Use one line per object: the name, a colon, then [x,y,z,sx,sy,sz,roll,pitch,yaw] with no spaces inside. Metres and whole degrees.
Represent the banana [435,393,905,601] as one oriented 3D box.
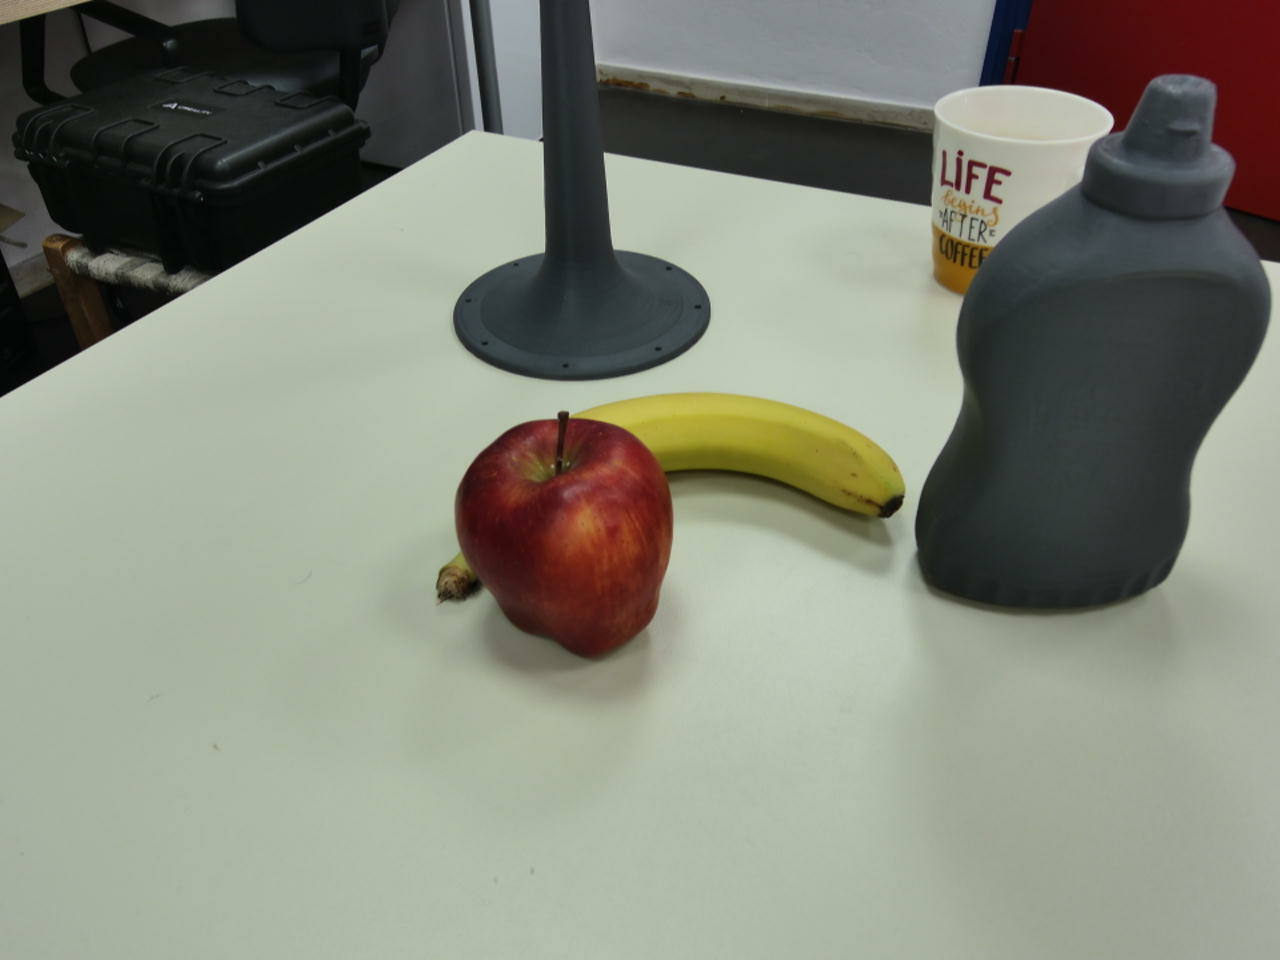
banana: [0.008,-0.003,0.437,0.196,0.041,0.094,-6,37,-7]
